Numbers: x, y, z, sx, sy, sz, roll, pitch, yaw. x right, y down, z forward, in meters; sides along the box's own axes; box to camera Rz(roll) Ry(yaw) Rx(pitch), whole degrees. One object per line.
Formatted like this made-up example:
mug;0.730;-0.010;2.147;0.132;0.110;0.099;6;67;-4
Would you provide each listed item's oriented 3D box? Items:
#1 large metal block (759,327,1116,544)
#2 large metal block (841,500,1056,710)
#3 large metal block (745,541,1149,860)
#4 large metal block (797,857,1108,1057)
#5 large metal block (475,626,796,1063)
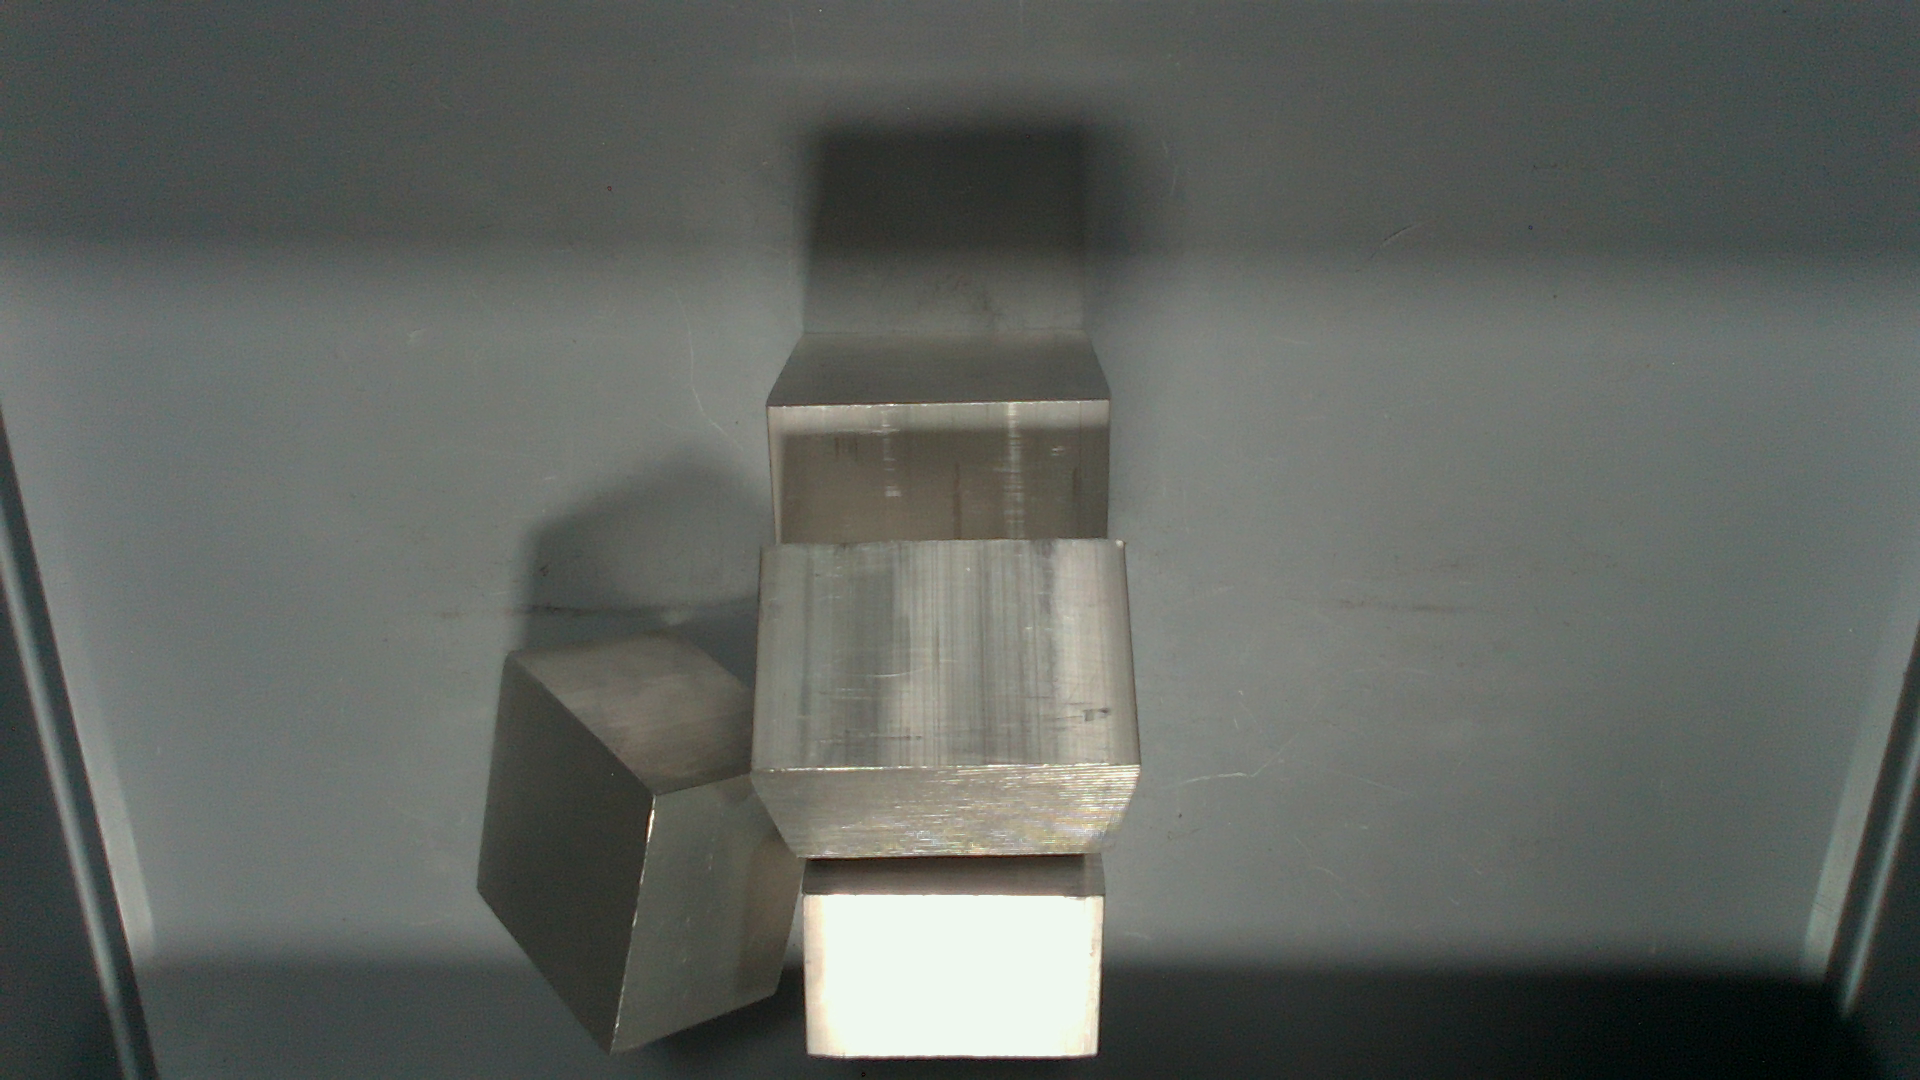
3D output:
large metal block;-0.004;-0.021;0.355;0.080;0.080;0.050;-1;110;0
large metal block;-0.004;0.034;0.394;0.080;0.050;0.080;-1;110;0
large metal block;-0.002;0.040;0.318;0.080;0.080;0.050;-1;65;0
large metal block;-0.002;0.102;0.400;0.080;0.080;0.050;0;110;0
large metal block;-0.090;0.080;0.384;0.050;0.080;0.080;-7;118;-44
